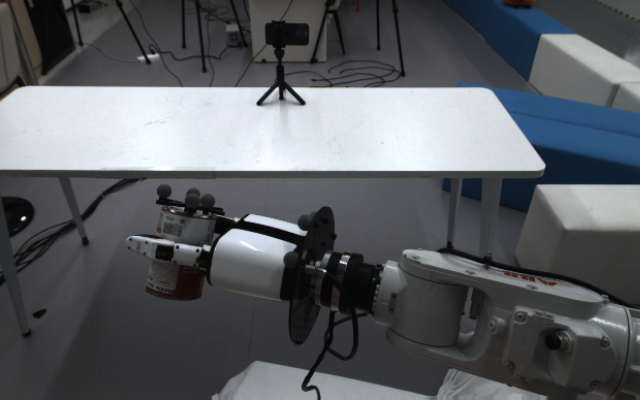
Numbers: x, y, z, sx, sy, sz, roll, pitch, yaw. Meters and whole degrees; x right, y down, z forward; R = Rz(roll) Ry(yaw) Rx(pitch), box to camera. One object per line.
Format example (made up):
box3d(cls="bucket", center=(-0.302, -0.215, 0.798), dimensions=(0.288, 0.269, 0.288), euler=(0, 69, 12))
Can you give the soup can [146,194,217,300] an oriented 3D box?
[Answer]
box3d(cls="soup can", center=(-0.164, 0.063, 0.582), dimensions=(0.067, 0.101, 0.067), euler=(12, 2, 0))
